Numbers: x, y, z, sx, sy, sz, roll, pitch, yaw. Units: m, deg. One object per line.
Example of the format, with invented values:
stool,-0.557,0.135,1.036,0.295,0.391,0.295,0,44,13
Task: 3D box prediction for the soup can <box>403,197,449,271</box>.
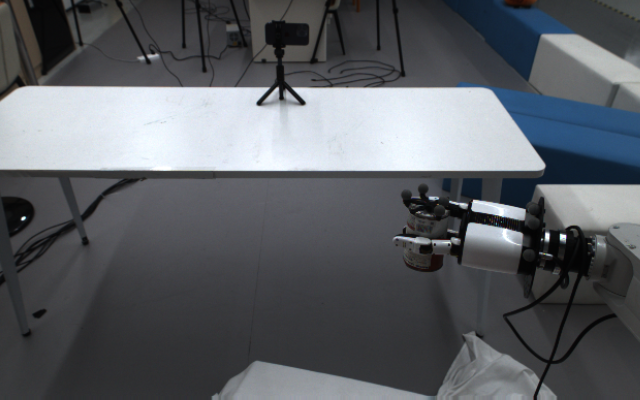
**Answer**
soup can,0.176,0.058,0.797,0.067,0.101,0.067,1,25,0
